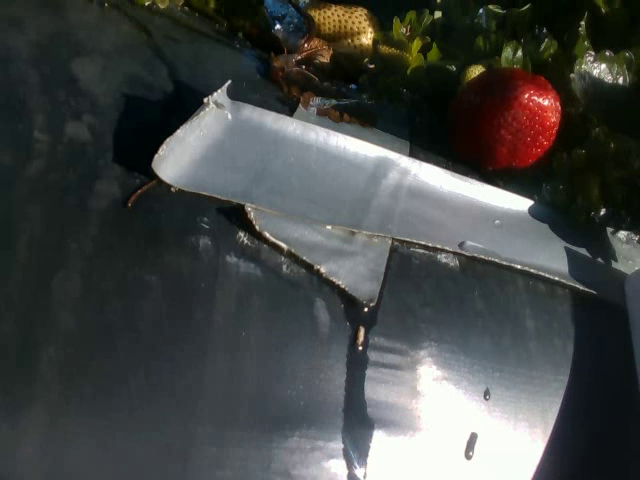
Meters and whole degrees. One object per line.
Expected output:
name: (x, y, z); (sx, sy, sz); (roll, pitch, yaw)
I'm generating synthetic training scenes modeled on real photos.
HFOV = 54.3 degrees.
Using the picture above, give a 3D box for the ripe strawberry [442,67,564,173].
ripe strawberry: (0.088, -0.051, 0.270); (0.057, 0.062, 0.065); (-38, 0, 5)
